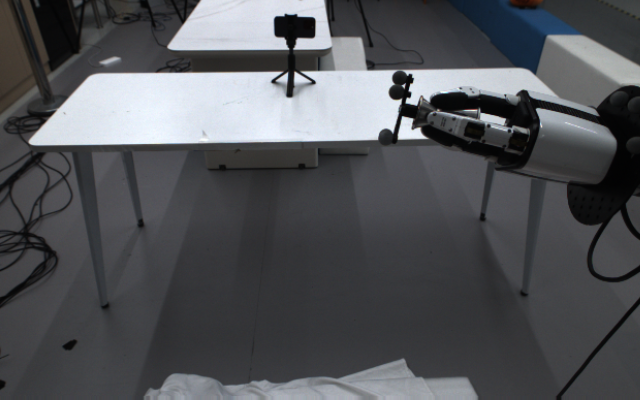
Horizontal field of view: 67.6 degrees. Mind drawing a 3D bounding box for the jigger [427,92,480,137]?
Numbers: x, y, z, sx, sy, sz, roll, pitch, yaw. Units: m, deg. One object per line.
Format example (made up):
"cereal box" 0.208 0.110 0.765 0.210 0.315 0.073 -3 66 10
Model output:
"jigger" 0.150 -0.095 0.559 0.071 0.043 0.043 14 36 4
